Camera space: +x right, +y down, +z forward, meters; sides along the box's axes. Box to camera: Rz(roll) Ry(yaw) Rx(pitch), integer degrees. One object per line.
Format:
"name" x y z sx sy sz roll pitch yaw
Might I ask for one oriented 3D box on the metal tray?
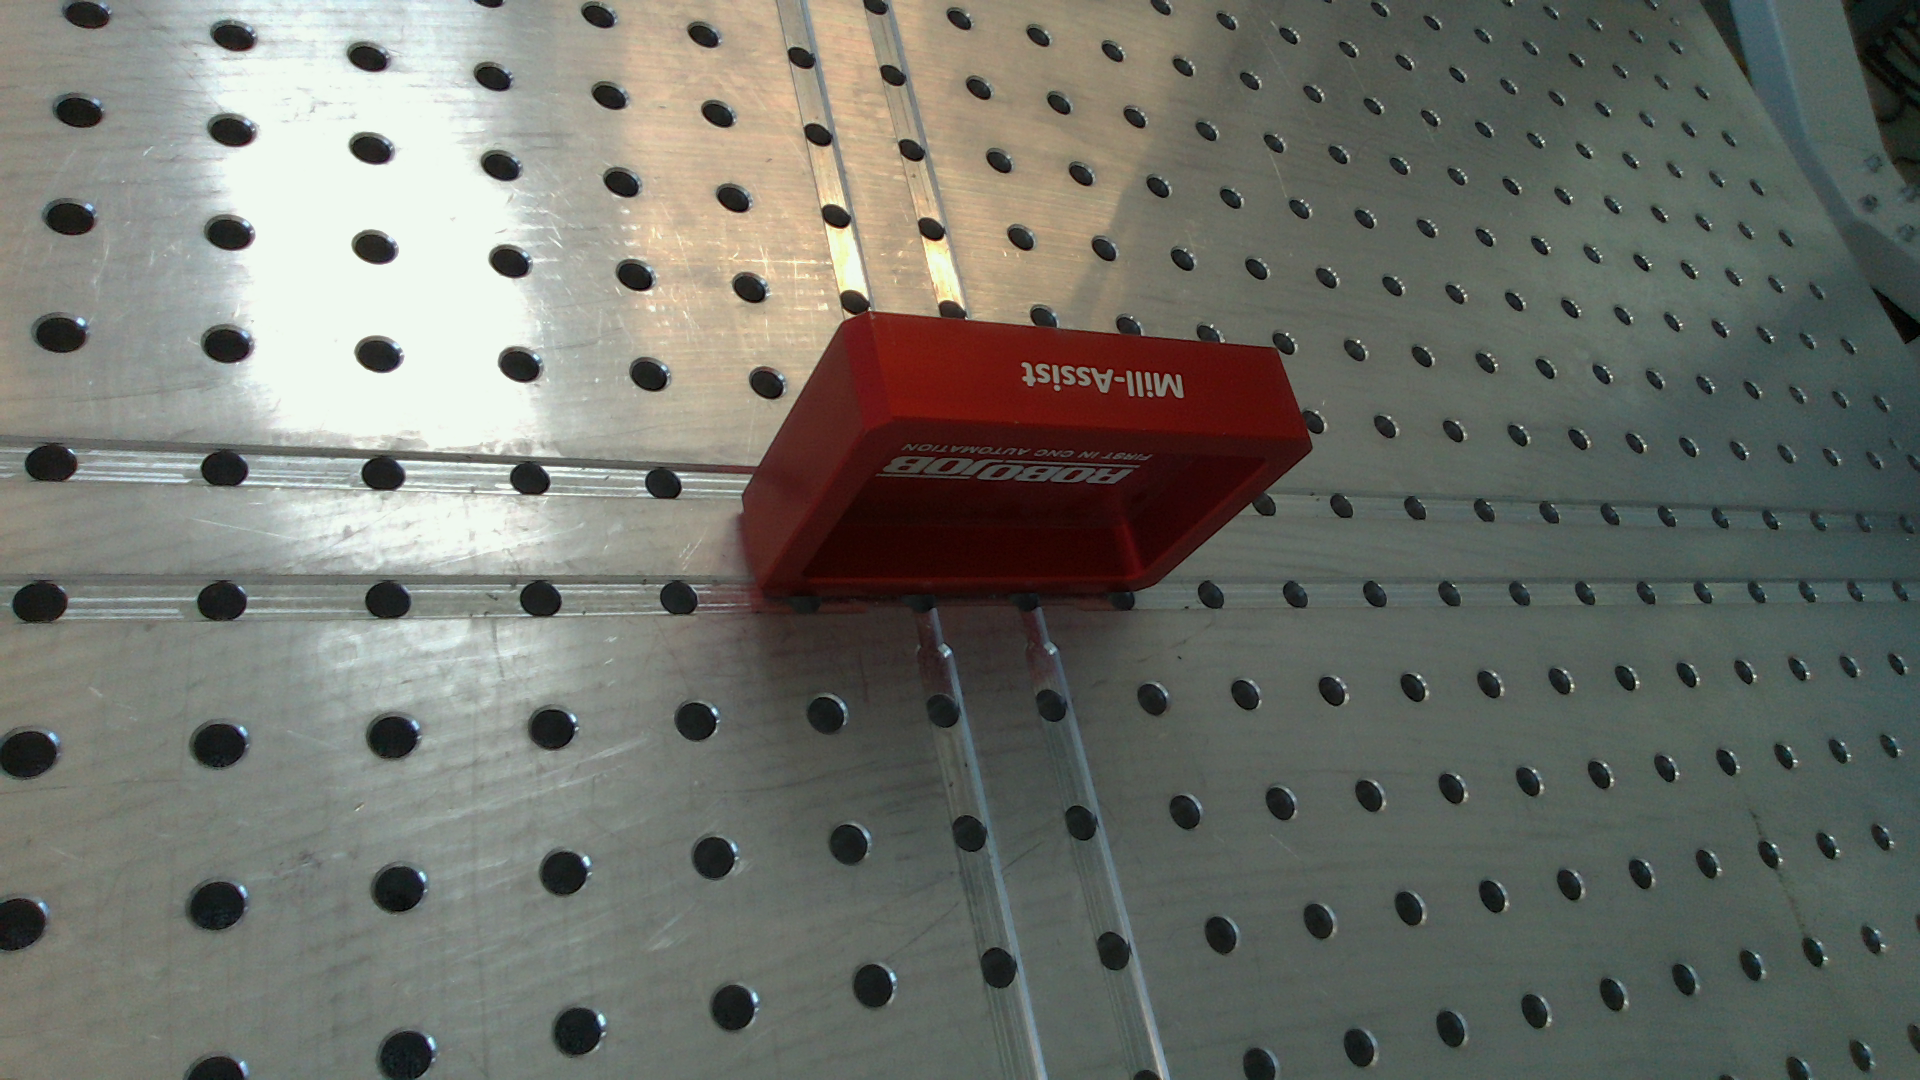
"metal tray" 0.017 -0.019 0.371 0.130 0.090 0.030 0 62 -28
